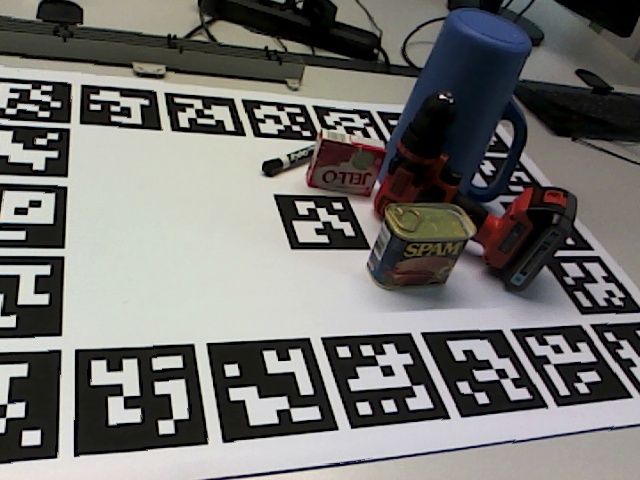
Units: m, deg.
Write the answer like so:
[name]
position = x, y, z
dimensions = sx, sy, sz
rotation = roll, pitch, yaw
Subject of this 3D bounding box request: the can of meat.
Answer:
[can of meat]
position = 0.110, 0.010, 0.702
dimensions = 0.101, 0.083, 0.058
rotation = 1, 42, -21

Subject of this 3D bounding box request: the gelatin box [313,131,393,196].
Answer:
[gelatin box]
position = 0.043, -0.098, 0.811
dimensions = 0.089, 0.073, 0.030
rotation = 10, 45, -13

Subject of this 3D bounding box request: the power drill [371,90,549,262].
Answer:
[power drill]
position = 0.170, -0.067, 0.739
dimensions = 0.187, 0.184, 0.057
rotation = 29, 44, 3

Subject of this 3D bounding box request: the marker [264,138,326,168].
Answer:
[marker]
position = -0.027, -0.120, 0.845
dimensions = 0.120, 0.019, 0.020
rotation = -22, 56, -37

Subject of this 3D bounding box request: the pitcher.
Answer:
[pitcher]
position = 0.197, -0.154, 0.812
dimensions = 0.189, 0.242, 0.133
rotation = 19, 43, 9
